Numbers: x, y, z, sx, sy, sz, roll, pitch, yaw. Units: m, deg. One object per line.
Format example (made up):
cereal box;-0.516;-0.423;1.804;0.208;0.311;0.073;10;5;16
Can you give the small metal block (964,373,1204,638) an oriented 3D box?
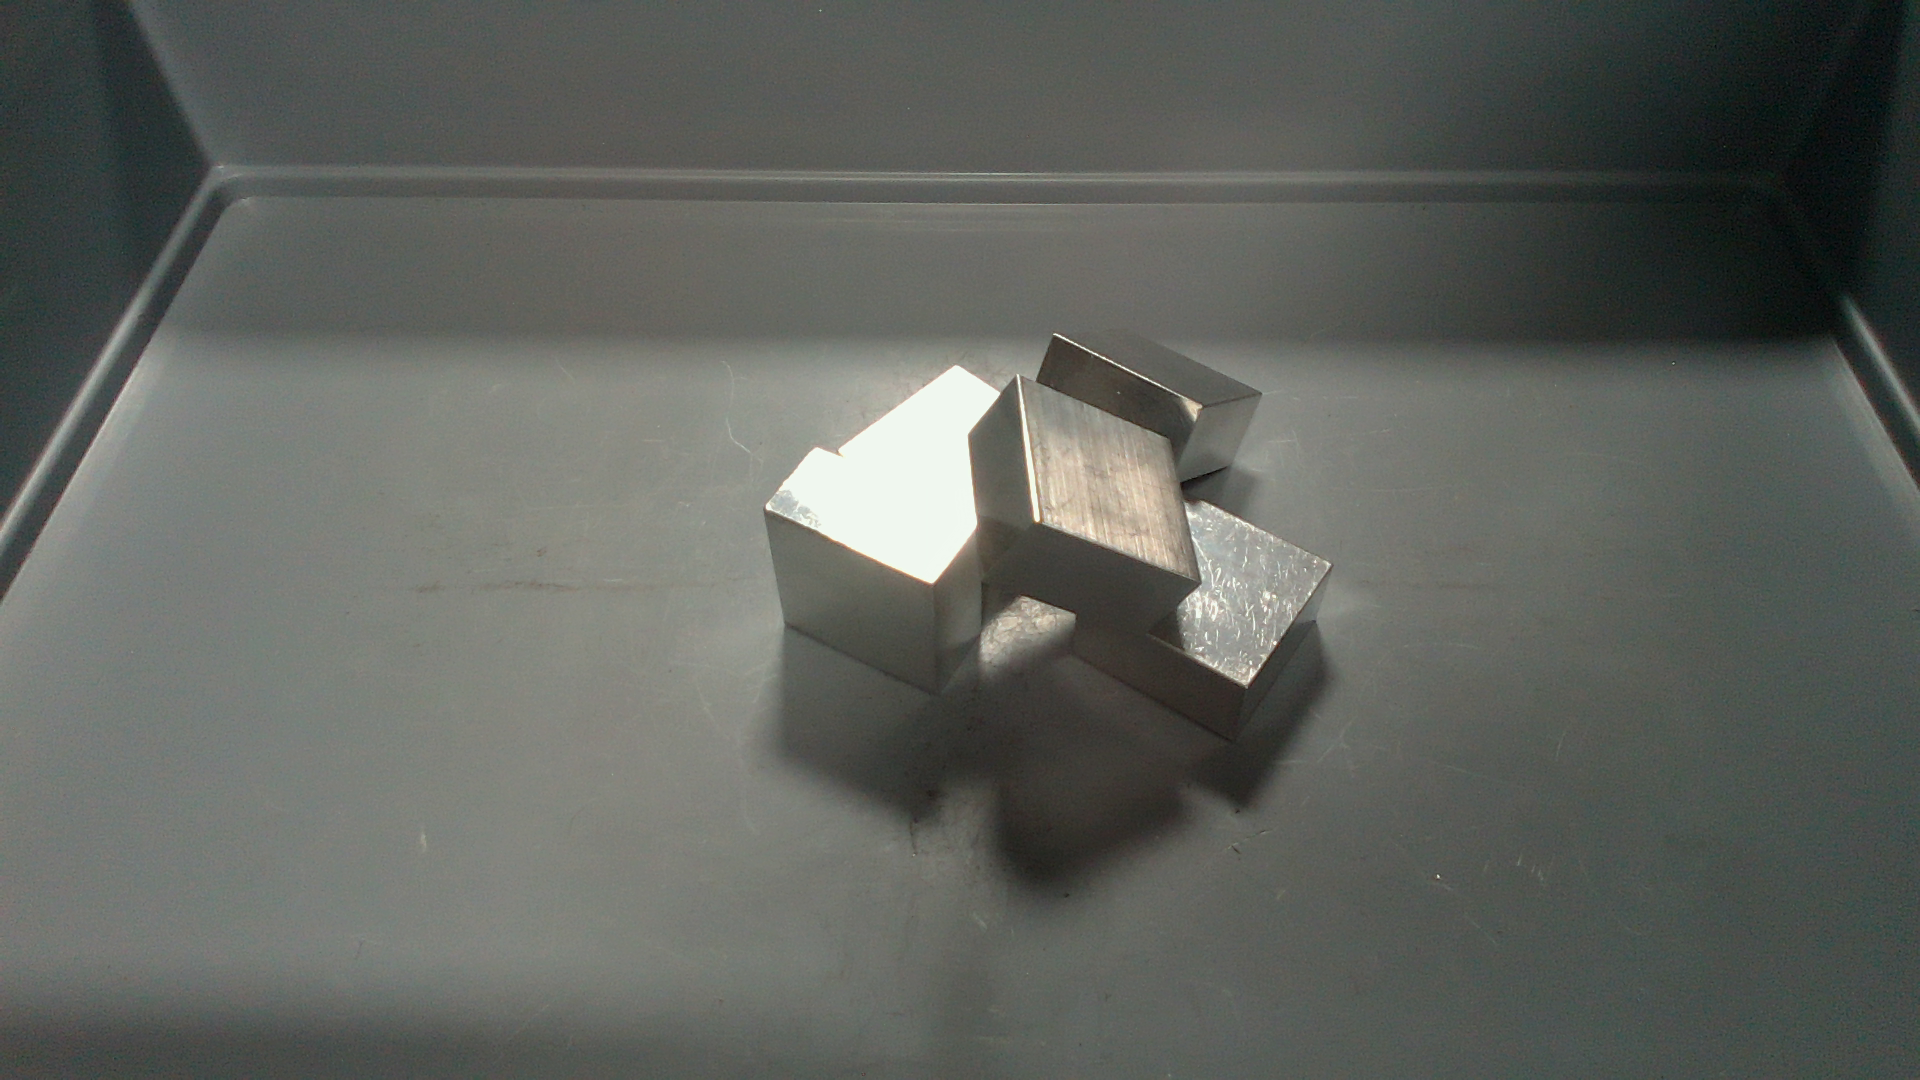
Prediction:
small metal block;0.030;-0.009;0.350;0.050;0.025;0.050;20;44;-26

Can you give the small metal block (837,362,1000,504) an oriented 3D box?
small metal block;-0.001;-0.019;0.405;0.050;0.025;0.050;36;59;26

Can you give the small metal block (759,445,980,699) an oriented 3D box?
small metal block;-0.023;0.009;0.365;0.050;0.050;0.025;23;54;19

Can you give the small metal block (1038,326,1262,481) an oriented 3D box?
small metal block;0.055;-0.041;0.411;0.050;0.025;0.050;30;23;23

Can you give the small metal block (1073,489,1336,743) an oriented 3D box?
small metal block;0.066;0.019;0.374;0.050;0.025;0.050;28;55;22
